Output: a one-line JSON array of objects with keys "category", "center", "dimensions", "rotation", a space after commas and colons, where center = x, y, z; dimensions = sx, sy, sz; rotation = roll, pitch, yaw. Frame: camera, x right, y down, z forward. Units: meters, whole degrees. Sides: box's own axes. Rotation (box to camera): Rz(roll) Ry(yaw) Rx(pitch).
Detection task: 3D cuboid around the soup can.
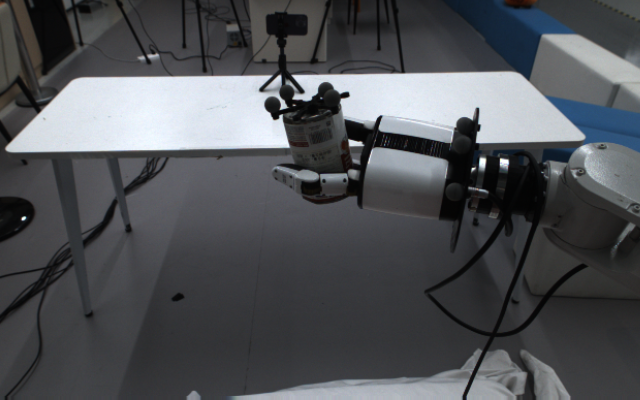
[{"category": "soup can", "center": [0.003, -0.055, 0.549], "dimensions": [0.067, 0.101, 0.067], "rotation": [-11, 28, 6]}]
